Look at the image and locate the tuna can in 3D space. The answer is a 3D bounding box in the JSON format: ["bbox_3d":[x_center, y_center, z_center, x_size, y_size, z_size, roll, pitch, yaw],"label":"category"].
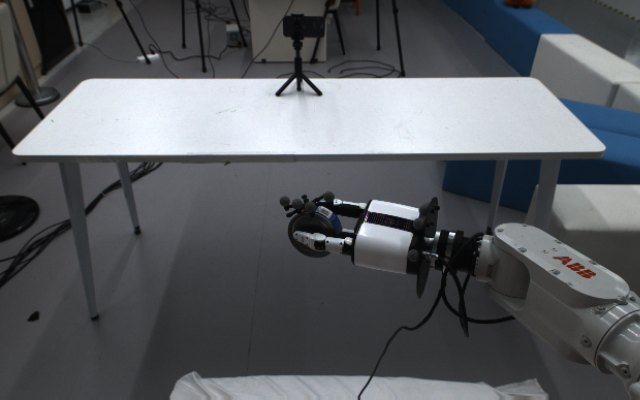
[{"bbox_3d":[-0.006,0.055,0.799,0.085,0.085,0.034,13,29,15],"label":"tuna can"}]
